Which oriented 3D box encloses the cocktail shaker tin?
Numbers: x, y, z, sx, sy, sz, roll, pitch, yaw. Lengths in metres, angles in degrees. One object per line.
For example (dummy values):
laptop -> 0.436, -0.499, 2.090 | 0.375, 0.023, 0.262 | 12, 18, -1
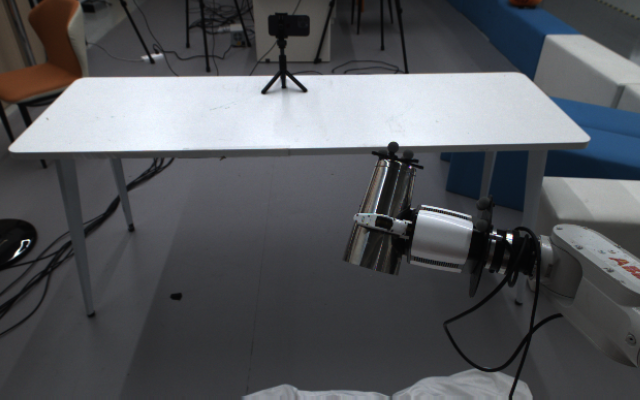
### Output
cocktail shaker tin -> 0.101, 0.025, 0.773 | 0.093, 0.170, 0.093 | 15, -4, 1
